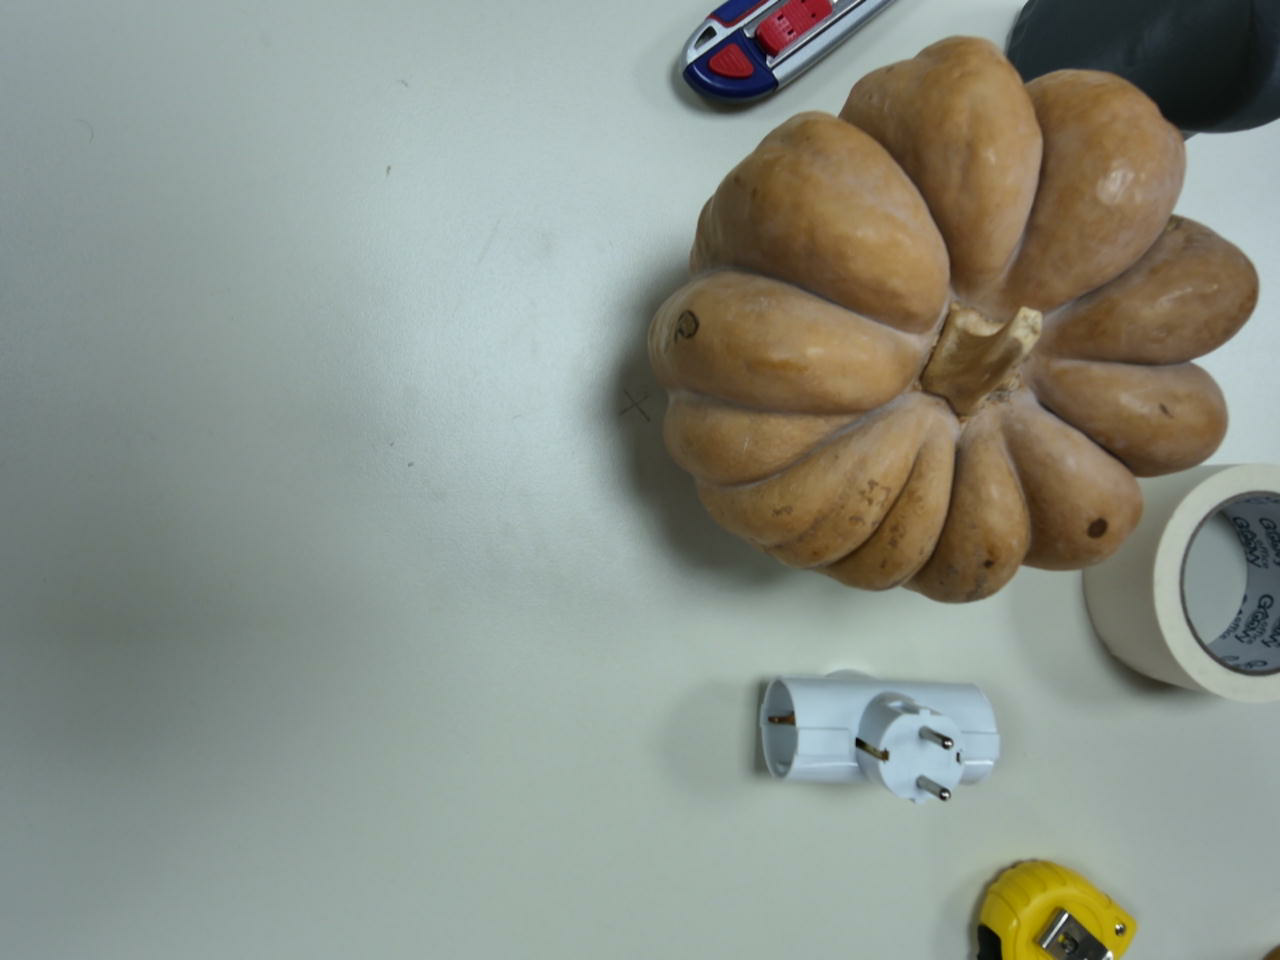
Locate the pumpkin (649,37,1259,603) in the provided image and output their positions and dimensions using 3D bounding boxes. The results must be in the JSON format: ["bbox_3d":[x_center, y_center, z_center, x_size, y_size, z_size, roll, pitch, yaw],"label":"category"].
[{"bbox_3d":[0.102,-0.050,0.371,0.199,0.177,0.198,0,91,-12],"label":"pumpkin"}]
